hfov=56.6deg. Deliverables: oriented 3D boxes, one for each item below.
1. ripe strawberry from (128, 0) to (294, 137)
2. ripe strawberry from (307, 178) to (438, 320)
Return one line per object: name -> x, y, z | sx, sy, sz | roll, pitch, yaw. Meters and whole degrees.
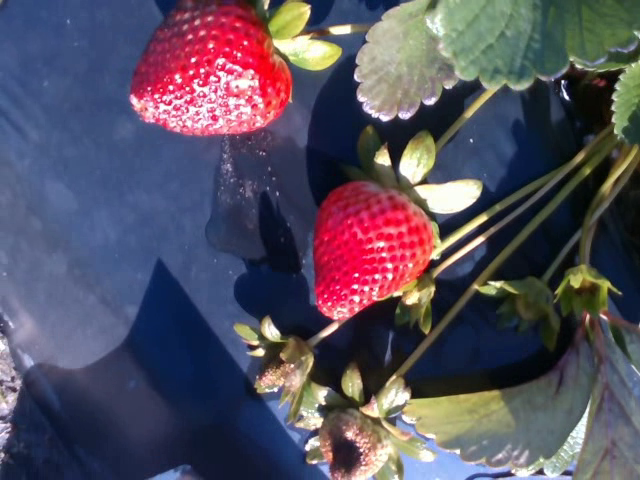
ripe strawberry -> -0.036, -0.050, 0.175 | 0.050, 0.051, 0.044 | -30, 14, -22
ripe strawberry -> 0.012, 0.005, 0.174 | 0.042, 0.049, 0.039 | 20, -26, 32
